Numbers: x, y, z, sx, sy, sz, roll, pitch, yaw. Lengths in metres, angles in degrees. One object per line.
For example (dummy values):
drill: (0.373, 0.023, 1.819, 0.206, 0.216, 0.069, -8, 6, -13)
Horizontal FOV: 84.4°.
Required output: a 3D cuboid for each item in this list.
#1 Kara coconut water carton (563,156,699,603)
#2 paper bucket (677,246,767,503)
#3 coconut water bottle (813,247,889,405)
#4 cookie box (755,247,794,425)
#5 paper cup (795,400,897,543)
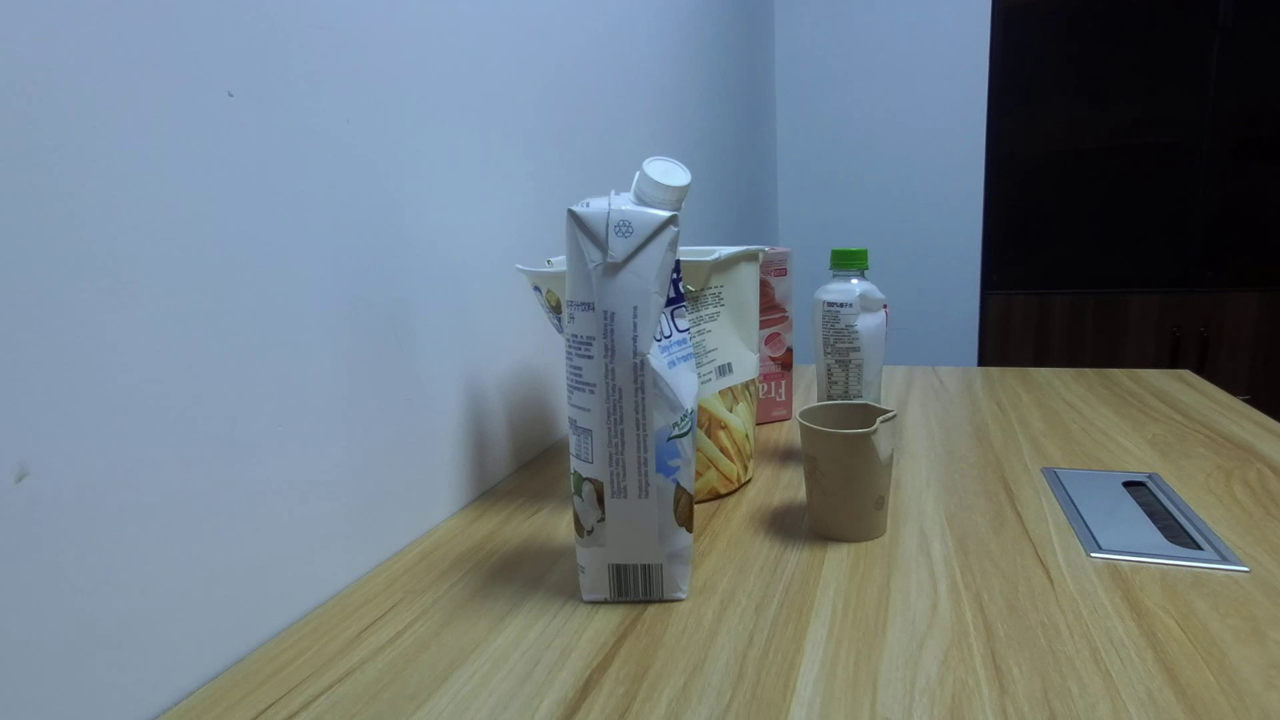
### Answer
Kara coconut water carton: (-0.006, 0.012, 0.421, 0.078, 0.255, 0.083, 2, 12, 15)
paper bucket: (0.018, 0.008, 0.599, 0.145, 0.196, 0.203, 1, 10, 31)
coconut water bottle: (0.182, -0.002, 0.608, 0.069, 0.186, 0.069, 1, 7, 0)
cookie box: (0.106, -0.024, 0.748, 0.105, 0.187, 0.048, -7, 11, -20)
paper cup: (0.143, 0.077, 0.490, 0.069, 0.081, 0.073, -7, 11, -16)
